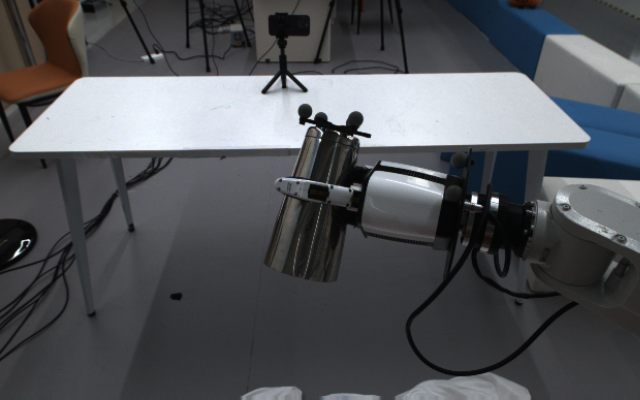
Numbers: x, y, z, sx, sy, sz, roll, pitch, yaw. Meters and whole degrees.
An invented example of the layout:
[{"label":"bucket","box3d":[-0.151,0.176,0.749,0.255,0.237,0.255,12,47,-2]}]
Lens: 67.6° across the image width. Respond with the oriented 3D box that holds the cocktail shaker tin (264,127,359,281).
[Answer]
[{"label":"cocktail shaker tin","box3d":[-0.004,0.003,0.585,0.093,0.170,0.093,14,2,0]}]
